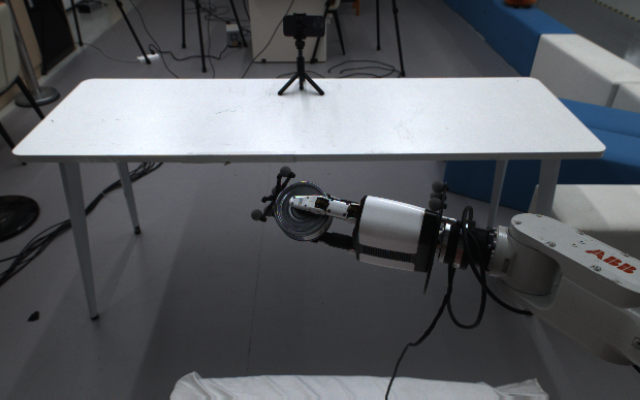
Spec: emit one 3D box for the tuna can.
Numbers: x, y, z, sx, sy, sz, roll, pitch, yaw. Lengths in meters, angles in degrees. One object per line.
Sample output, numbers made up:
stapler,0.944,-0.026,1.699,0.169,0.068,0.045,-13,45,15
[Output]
tuna can,-0.021,0.020,0.714,0.085,0.034,0.085,-2,72,6
